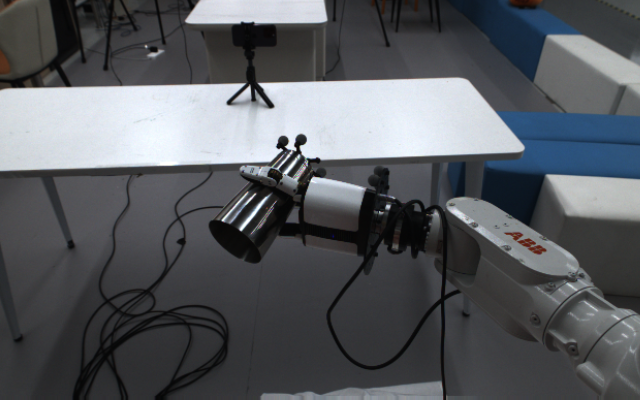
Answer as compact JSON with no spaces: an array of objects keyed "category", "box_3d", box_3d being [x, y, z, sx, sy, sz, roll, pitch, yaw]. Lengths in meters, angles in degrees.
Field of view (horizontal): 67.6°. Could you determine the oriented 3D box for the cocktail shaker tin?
[{"category":"cocktail shaker tin","box_3d":[-0.079,-0.002,0.733,0.093,0.093,0.170,19,55,23]}]
